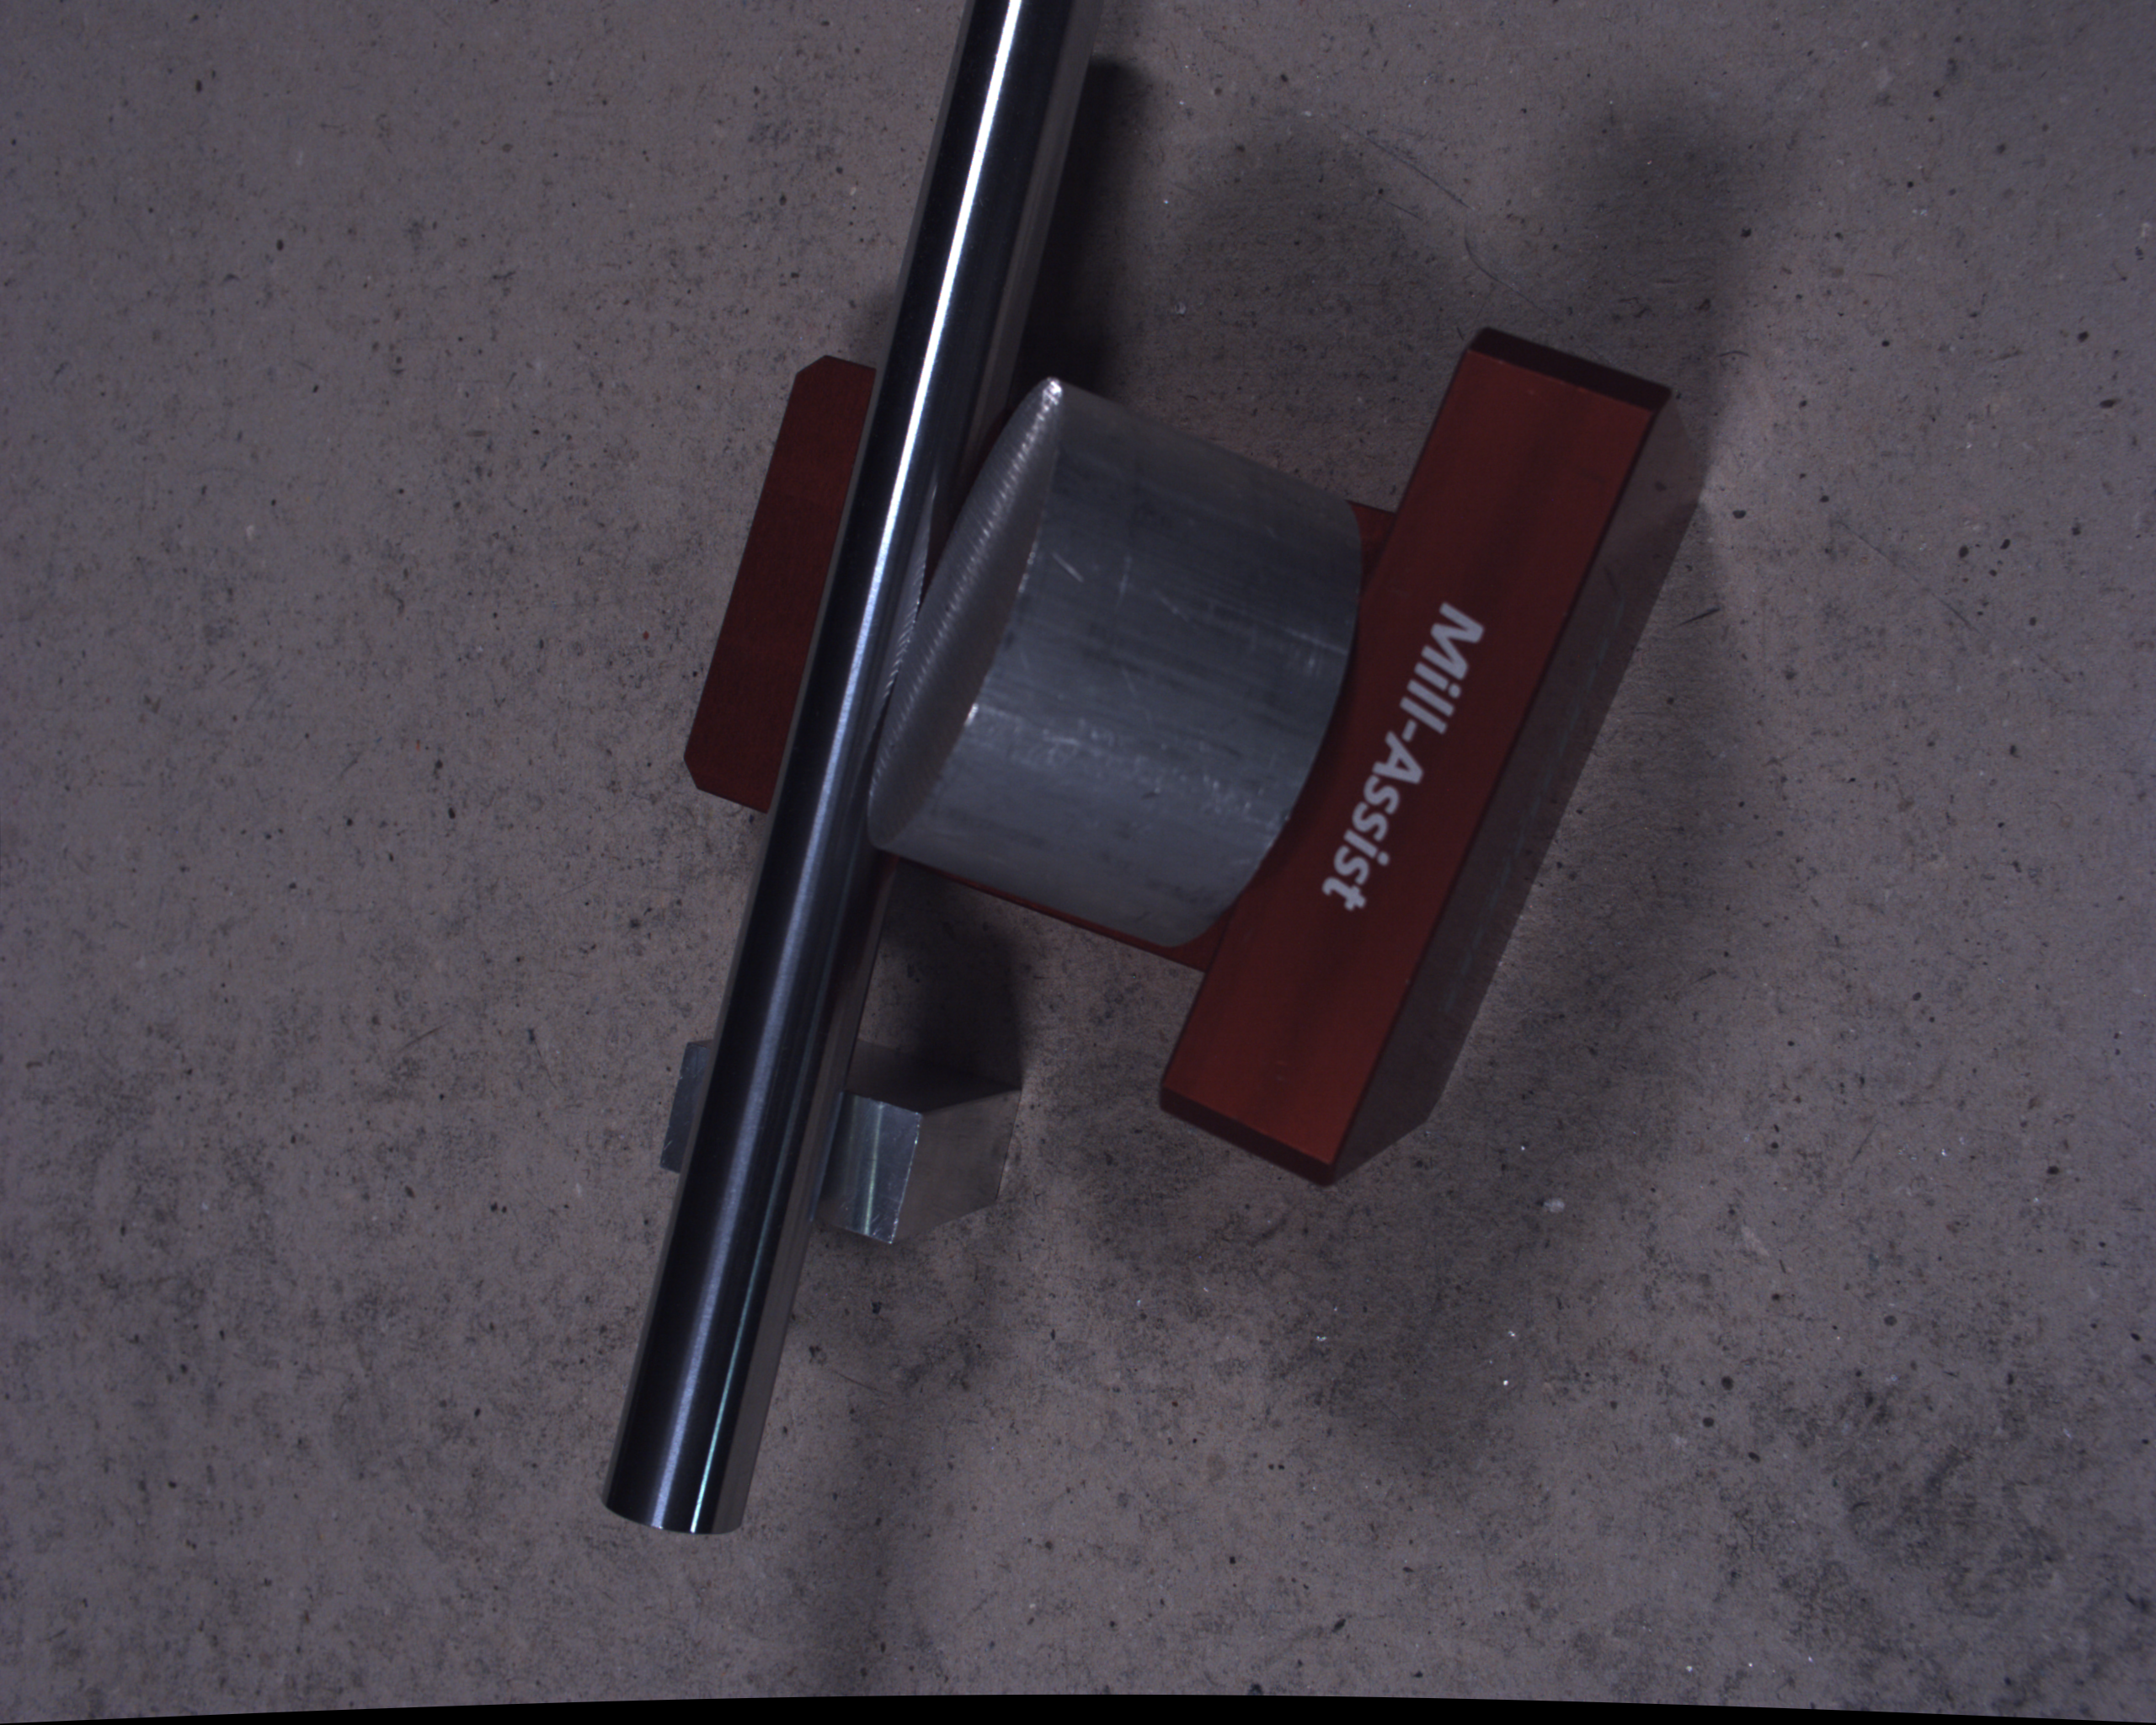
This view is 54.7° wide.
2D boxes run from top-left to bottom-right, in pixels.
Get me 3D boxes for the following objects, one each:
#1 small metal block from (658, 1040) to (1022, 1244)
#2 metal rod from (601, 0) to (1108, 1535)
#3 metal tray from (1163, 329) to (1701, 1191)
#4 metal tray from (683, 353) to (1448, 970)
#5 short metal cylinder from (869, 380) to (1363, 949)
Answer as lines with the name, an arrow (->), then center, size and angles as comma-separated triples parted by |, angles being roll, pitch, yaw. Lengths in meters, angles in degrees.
small metal block -> -0.046, 0.052, 0.412 | 0.050, 0.050, 0.025 | 14, 95, 19
metal rod -> -0.038, -0.030, 0.381 | 0.025, 0.025, 0.298 | 11, 85, 19
metal tray -> 0.063, -0.015, 0.353 | 0.030, 0.090, 0.129 | 24, 98, 18
metal tray -> -0.004, -0.039, 0.408 | 0.130, 0.030, 0.089 | 19, 96, 18
short metal cylinder -> 0.004, -0.031, 0.340 | 0.050, 0.080, 0.080 | 20, 98, -15
